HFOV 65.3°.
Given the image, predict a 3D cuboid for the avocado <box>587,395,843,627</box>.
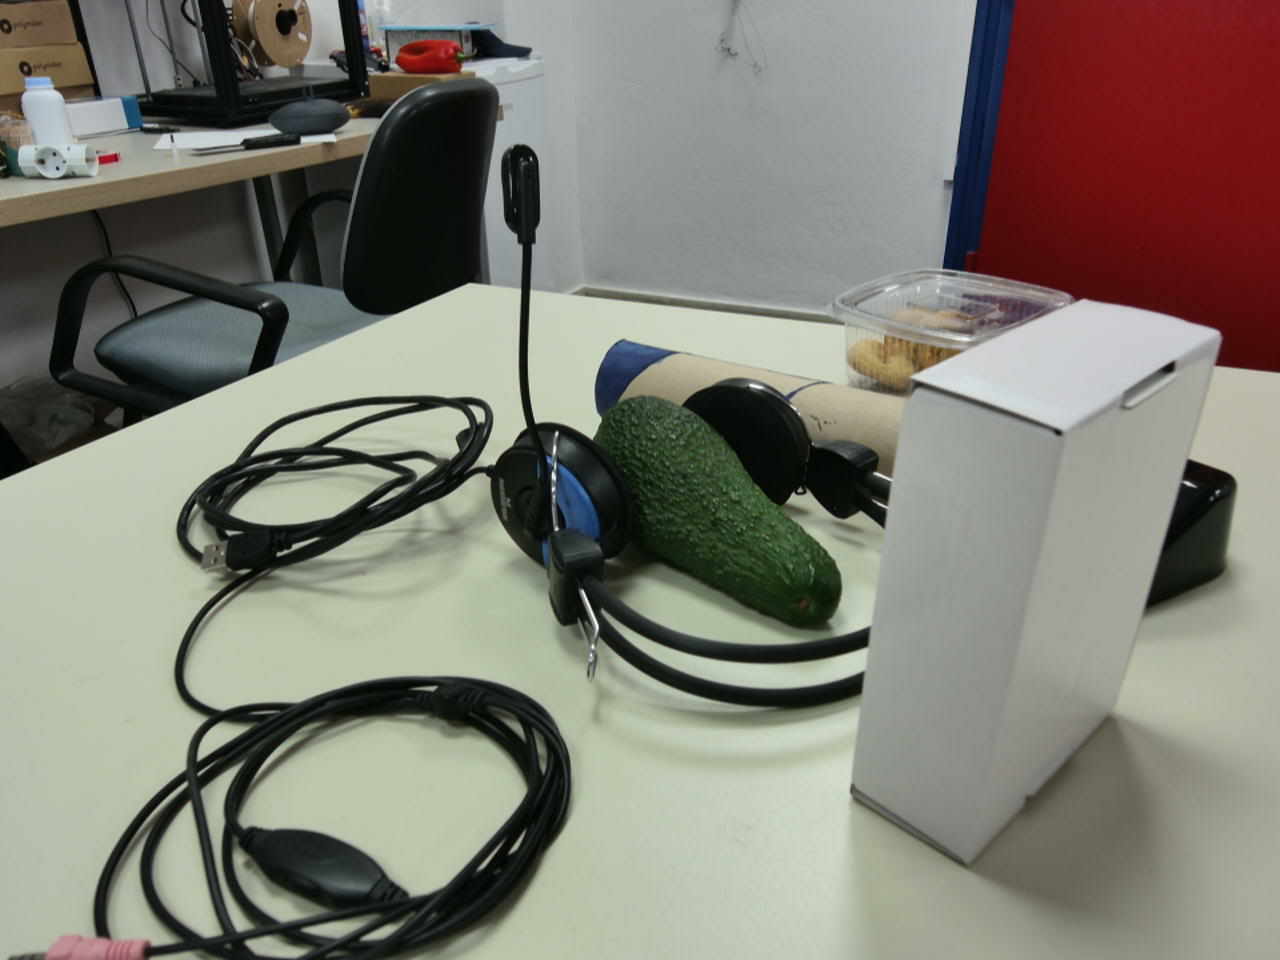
[{"bbox_3d":[0.032,0.007,0.421,0.141,0.067,0.063,19,30,37],"label":"avocado"}]
